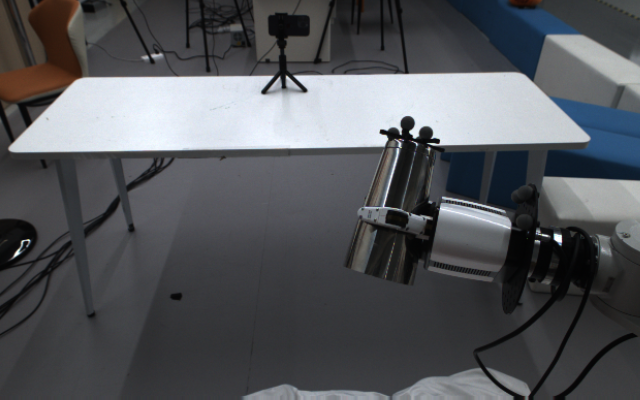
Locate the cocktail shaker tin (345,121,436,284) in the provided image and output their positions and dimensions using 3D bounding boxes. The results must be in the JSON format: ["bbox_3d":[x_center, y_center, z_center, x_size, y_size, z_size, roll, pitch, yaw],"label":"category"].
[{"bbox_3d":[0.096,0.014,0.618,0.093,0.170,0.093,15,-4,1],"label":"cocktail shaker tin"}]
